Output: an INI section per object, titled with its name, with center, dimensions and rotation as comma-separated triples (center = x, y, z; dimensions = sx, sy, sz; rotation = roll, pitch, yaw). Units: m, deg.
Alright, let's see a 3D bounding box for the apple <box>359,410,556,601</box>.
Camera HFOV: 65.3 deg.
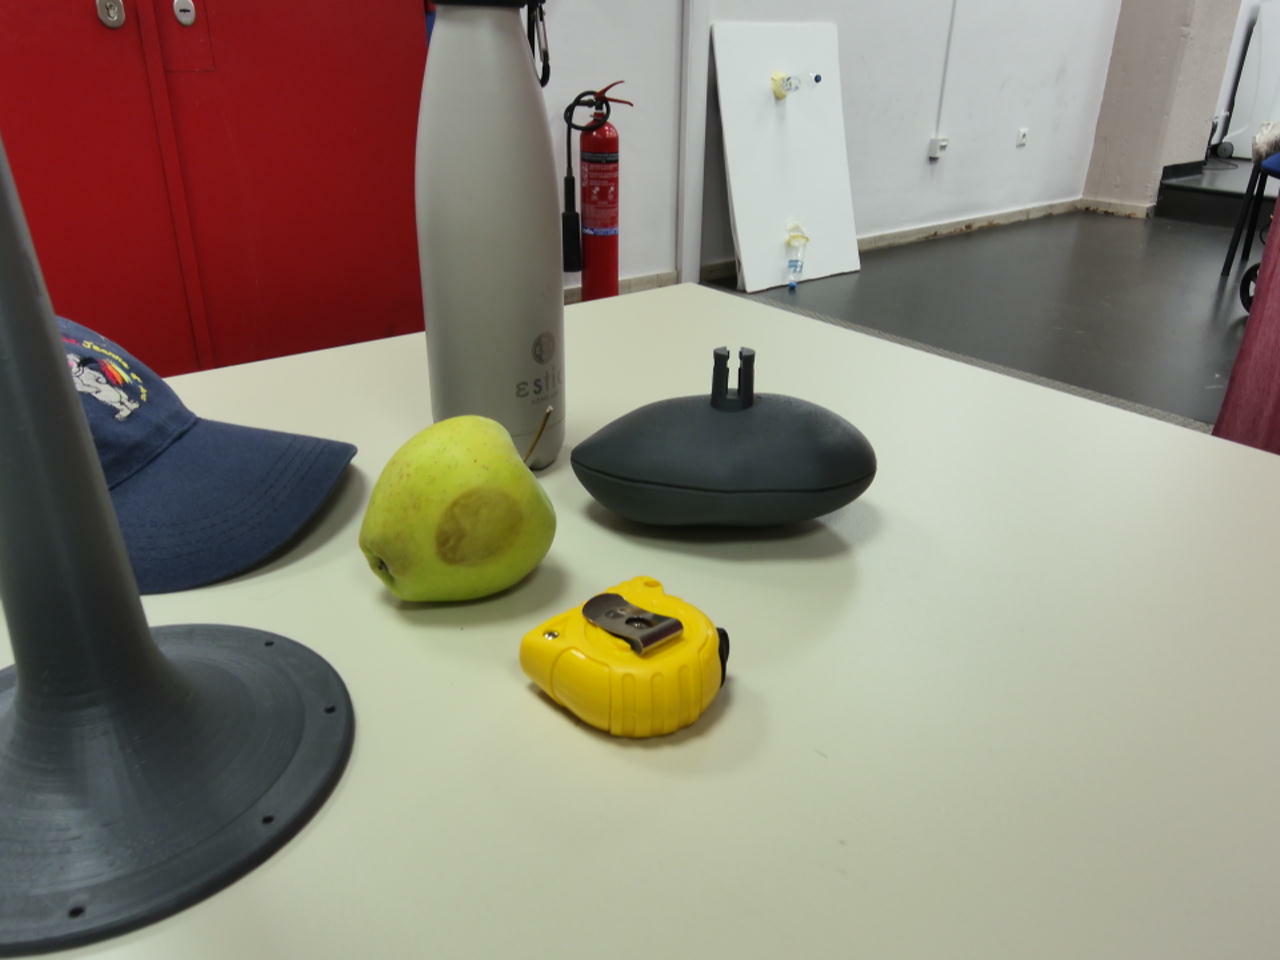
[apple]
center = -0.074, 0.011, 0.415
dimensions = 0.077, 0.075, 0.072
rotation = 4, 23, 4
